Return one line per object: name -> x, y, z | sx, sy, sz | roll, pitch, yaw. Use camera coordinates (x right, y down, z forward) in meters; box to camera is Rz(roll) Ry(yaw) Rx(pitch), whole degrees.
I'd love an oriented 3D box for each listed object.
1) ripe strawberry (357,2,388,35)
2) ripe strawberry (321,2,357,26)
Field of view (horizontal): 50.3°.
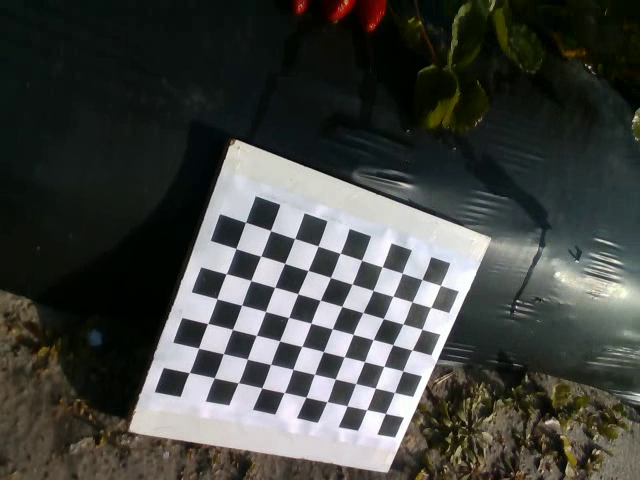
ripe strawberry -> 0.038, -0.177, 0.546 | 0.035, 0.041, 0.034 | 12, -41, -23
ripe strawberry -> 0.014, -0.184, 0.531 | 0.030, 0.037, 0.039 | 28, 29, -24
